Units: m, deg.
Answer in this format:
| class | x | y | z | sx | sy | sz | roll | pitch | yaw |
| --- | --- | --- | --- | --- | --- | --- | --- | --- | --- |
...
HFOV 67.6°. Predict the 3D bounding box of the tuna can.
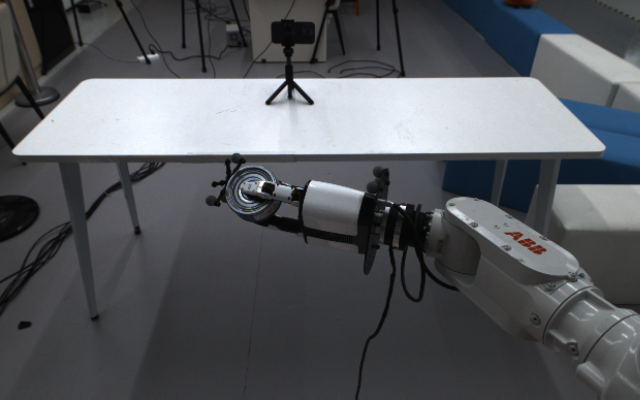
| class | x | y | z | sx | sy | sz | roll | pitch | yaw |
| --- | --- | --- | --- | --- | --- | --- | --- | --- | --- |
| tuna can | -0.102 | -0.012 | 0.754 | 0.085 | 0.034 | 0.085 | -3 | 70 | 9 |
